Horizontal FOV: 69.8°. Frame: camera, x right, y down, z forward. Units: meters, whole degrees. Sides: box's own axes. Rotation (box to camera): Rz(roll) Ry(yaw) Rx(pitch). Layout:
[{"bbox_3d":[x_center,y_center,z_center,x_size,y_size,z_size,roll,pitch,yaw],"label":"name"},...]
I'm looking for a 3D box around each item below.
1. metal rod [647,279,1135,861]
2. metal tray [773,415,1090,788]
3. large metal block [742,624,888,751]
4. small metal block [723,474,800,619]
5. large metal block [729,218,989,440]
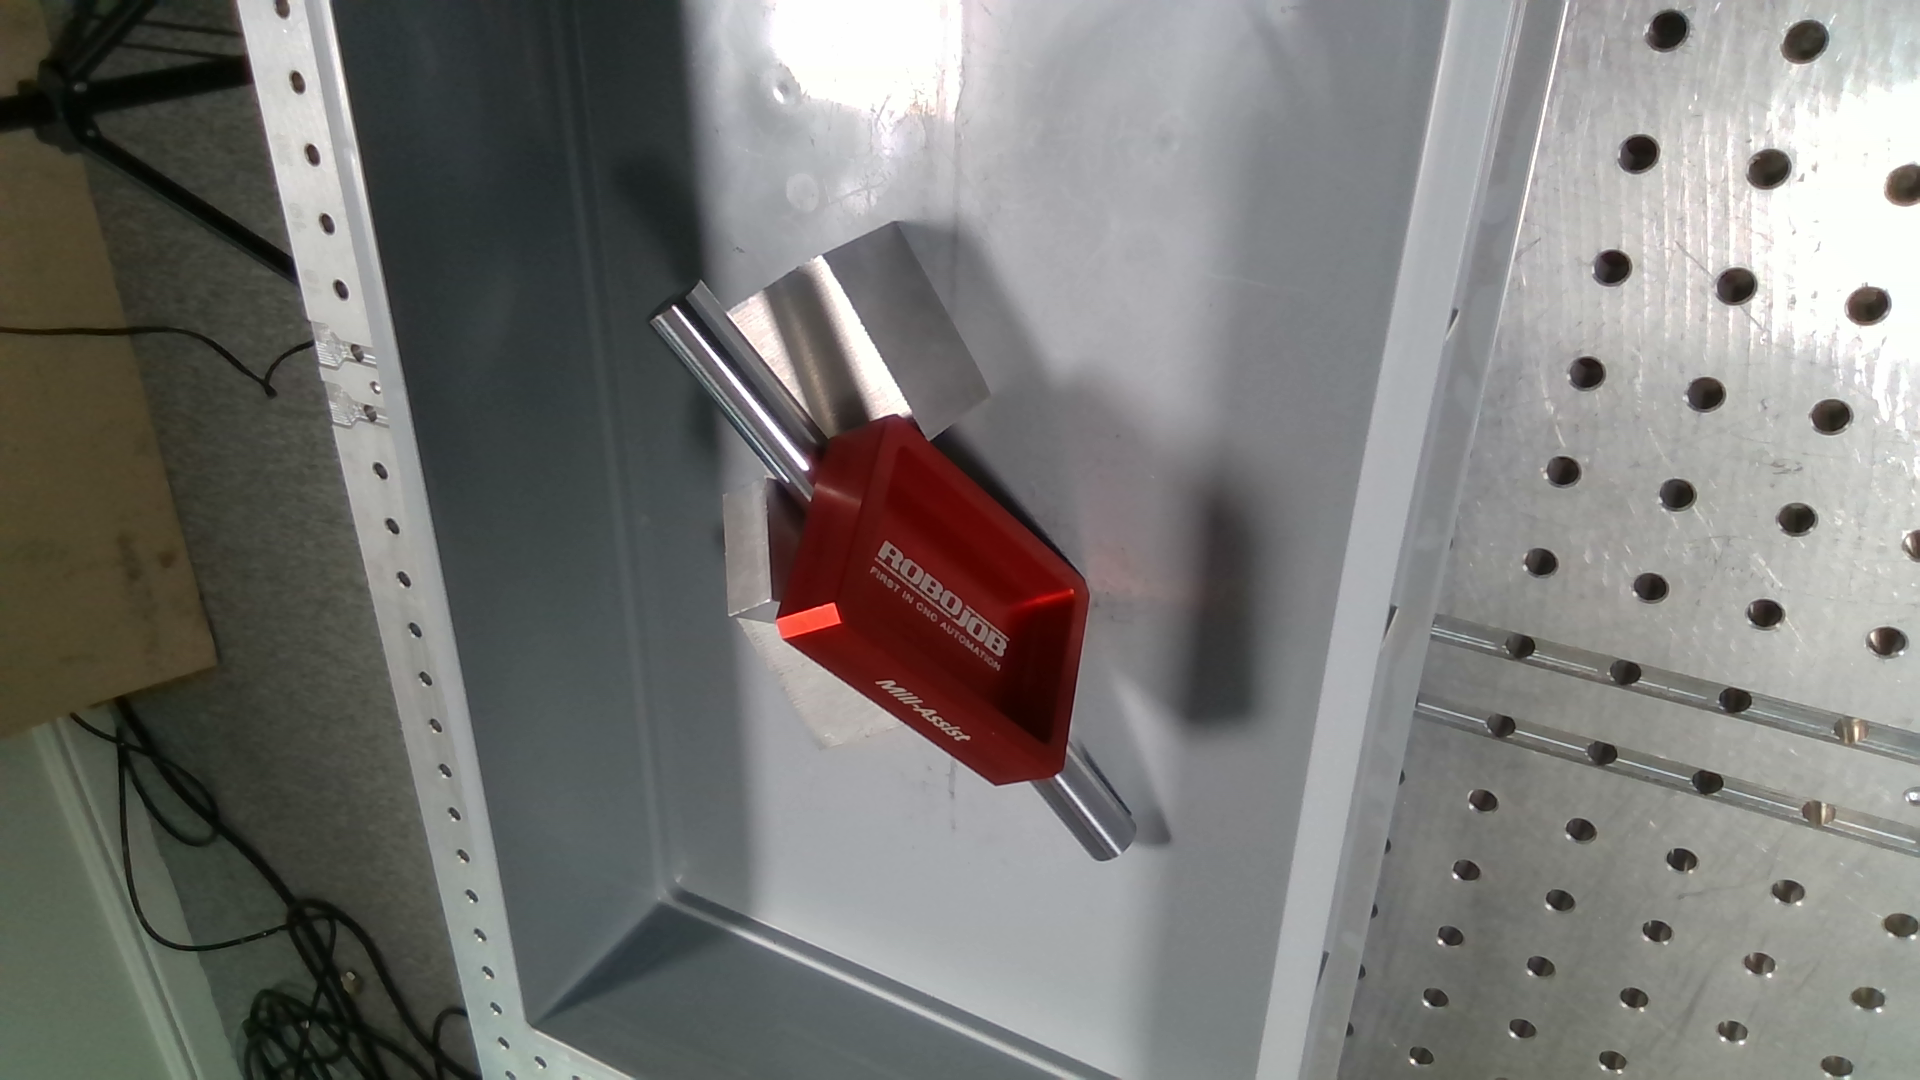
[{"bbox_3d":[-0.018,0.023,0.554,0.025,0.025,0.301,-19,119,37],"label":"metal rod"},{"bbox_3d":[-0.005,0.026,0.519,0.030,0.090,0.130,-16,138,38],"label":"metal tray"},{"bbox_3d":[-0.043,0.039,0.610,0.080,0.050,0.080,-22,102,38],"label":"large metal block"},{"bbox_3d":[-0.065,0.006,0.543,0.025,0.050,0.050,-19,67,37],"label":"small metal block"},{"bbox_3d":[-0.049,-0.069,0.552,0.080,0.050,0.080,-22,102,38],"label":"large metal block"}]
